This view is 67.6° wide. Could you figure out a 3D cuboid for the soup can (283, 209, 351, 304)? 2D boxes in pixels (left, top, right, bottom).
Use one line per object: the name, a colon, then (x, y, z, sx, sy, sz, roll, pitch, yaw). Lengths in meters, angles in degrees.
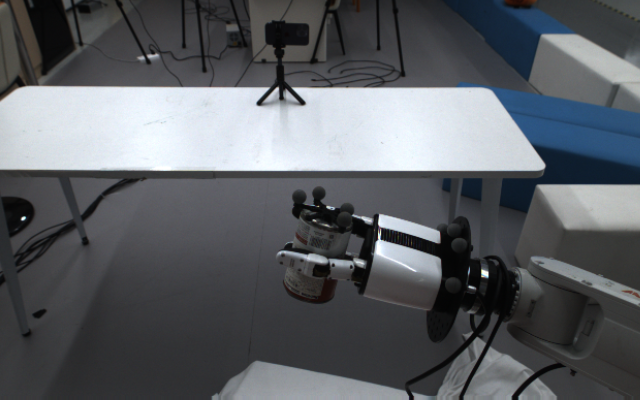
soup can: (-0.001, 0.068, 0.602, 0.067, 0.101, 0.067, 13, 18, -4)
